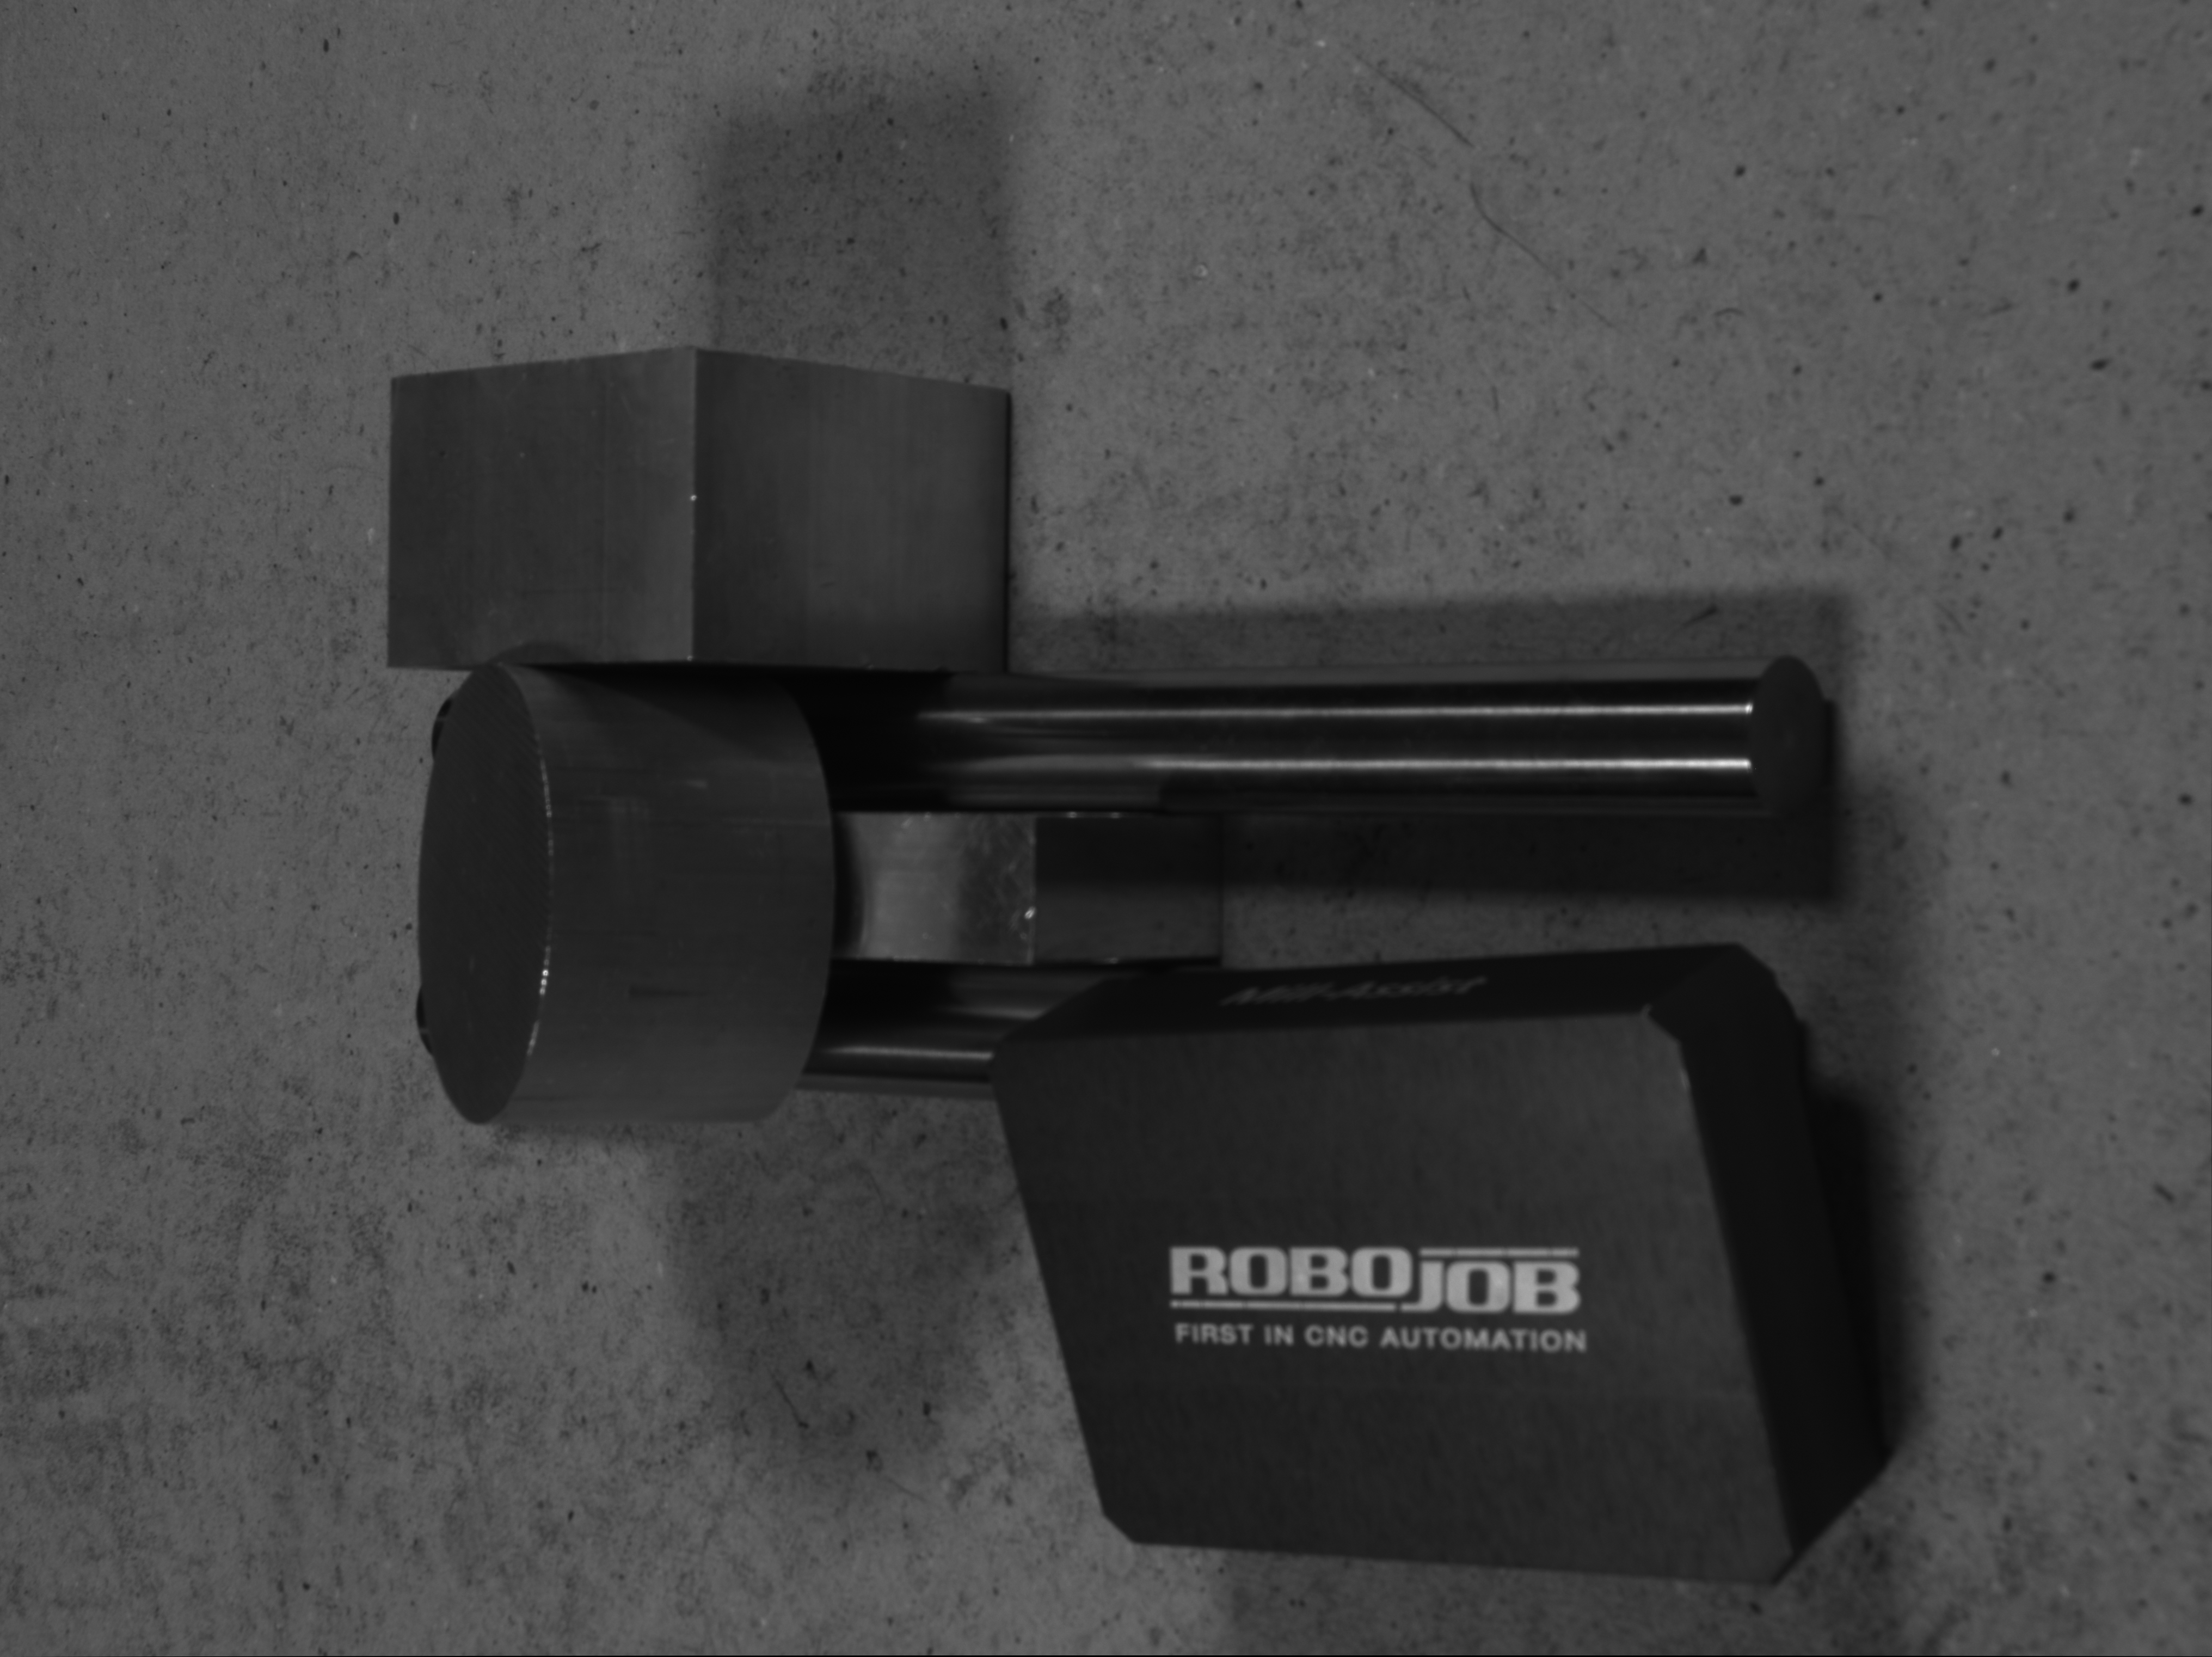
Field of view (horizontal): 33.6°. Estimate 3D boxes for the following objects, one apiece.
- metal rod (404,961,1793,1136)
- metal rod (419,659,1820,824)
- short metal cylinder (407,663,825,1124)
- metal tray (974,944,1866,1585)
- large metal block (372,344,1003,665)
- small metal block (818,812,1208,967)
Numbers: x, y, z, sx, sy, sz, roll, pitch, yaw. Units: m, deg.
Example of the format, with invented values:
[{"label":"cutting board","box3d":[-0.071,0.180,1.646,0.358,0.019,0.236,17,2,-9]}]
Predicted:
[{"label":"metal rod","box3d":[-0.018,0.036,0.651,0.299,0.025,0.025,0,90,39]},{"label":"metal rod","box3d":[-0.014,-0.015,0.648,0.299,0.025,0.025,1,90,39]},{"label":"short metal cylinder","box3d":[-0.088,0.012,0.646,0.080,0.050,0.080,-8,80,63]},{"label":"metal tray","box3d":[0.047,0.068,0.576,0.130,0.030,0.090,-5,104,38]},{"label":"large metal block","box3d":[-0.075,-0.056,0.664,0.080,0.080,0.050,1,90,39]},{"label":"small metal block","box3d":[-0.018,0.010,0.634,0.050,0.050,0.025,1,90,39]}]
